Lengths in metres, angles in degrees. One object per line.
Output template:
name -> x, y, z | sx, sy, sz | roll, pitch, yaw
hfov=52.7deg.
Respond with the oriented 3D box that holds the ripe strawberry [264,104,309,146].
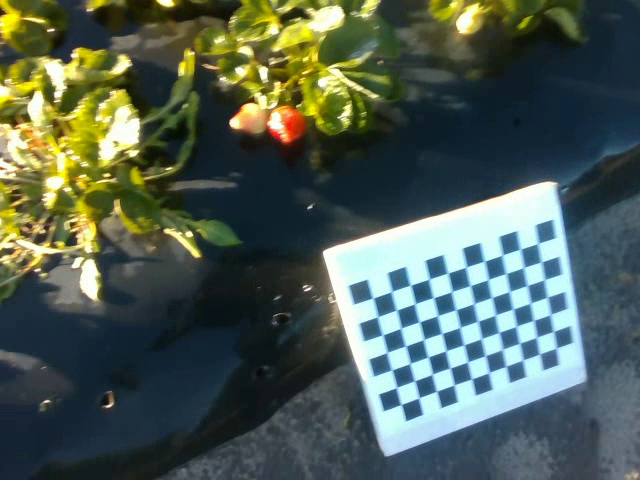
ripe strawberry -> -0.032, -0.114, 0.611 | 0.040, 0.038, 0.056 | -27, 21, 18
